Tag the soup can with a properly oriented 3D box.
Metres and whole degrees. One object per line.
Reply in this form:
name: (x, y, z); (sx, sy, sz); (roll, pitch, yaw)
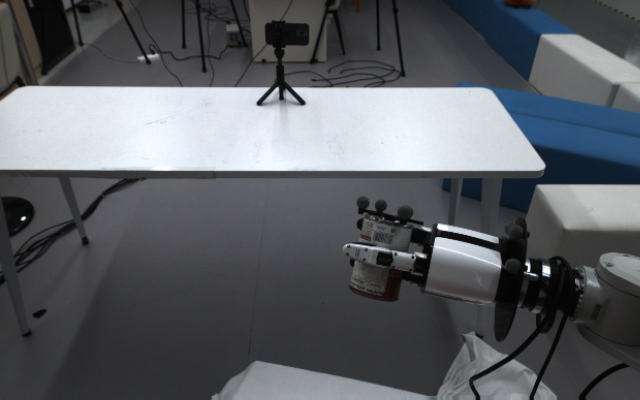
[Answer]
soup can: (0.083, 0.076, 0.645); (0.067, 0.101, 0.067); (12, 2, 0)
